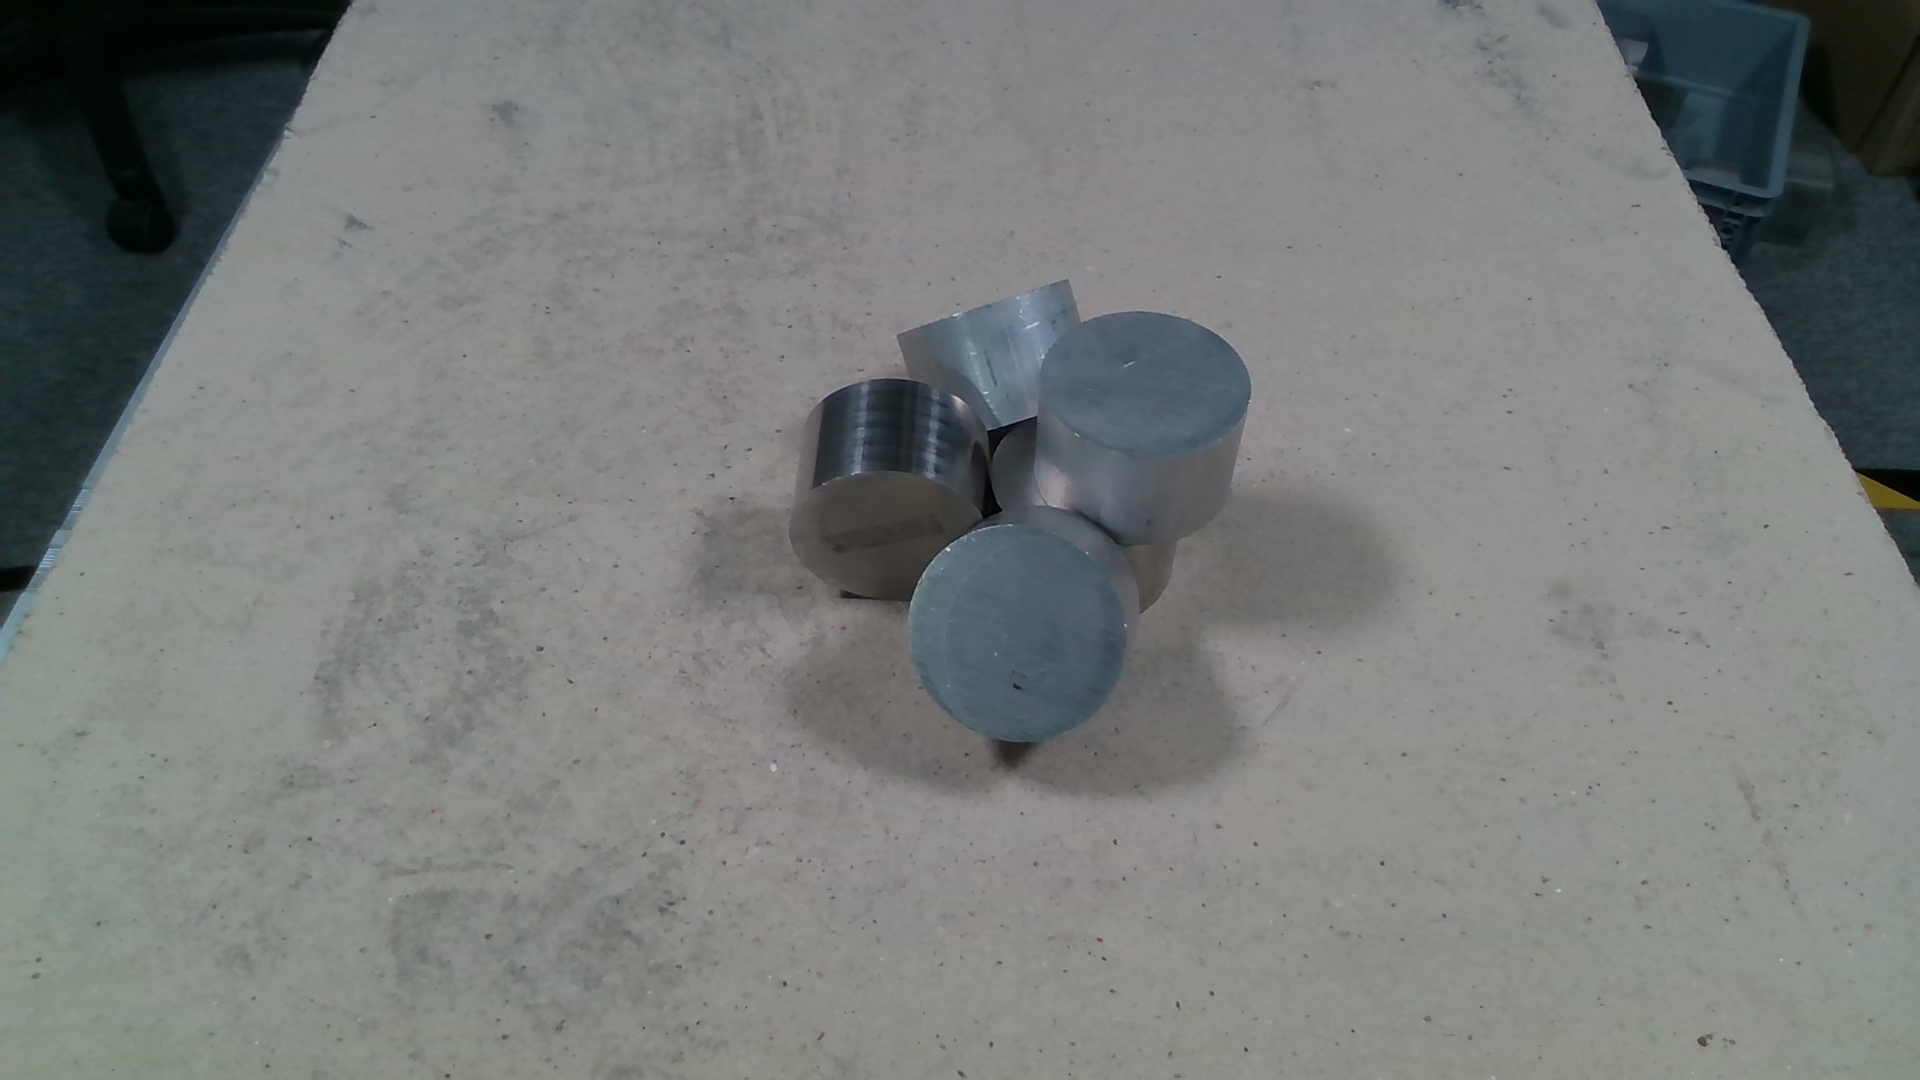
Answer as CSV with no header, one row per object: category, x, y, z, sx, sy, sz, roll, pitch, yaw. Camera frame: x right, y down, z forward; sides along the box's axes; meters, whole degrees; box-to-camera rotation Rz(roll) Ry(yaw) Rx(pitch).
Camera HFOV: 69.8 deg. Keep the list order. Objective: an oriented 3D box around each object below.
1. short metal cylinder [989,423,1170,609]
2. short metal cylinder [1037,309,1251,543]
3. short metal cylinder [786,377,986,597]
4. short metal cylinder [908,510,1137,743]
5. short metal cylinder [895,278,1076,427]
short metal cylinder,0.052,-0.011,0.580,0.080,0.050,0.080,0,50,0
short metal cylinder,0.070,-0.045,0.543,0.080,0.050,0.080,0,50,0
short metal cylinder,-0.029,-0.021,0.567,0.080,0.080,0.050,1,50,1
short metal cylinder,0.025,0.030,0.518,0.080,0.080,0.050,12,12,10
short metal cylinder,0.017,-0.080,0.612,0.080,0.050,0.080,-17,8,3
